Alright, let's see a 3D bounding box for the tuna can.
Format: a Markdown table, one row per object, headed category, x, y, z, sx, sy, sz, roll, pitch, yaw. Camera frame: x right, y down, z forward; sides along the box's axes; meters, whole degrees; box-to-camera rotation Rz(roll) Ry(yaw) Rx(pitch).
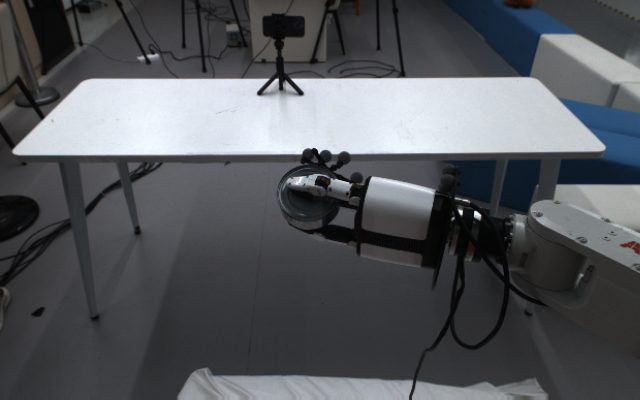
| category | x | y | z | sx | sy | sz | roll | pitch | yaw |
| --- | --- | --- | --- | --- | --- | --- | --- | --- | --- |
| tuna can | -0.014 | -0.005 | 0.655 | 0.085 | 0.034 | 0.085 | -2 | 60 | 3 |
